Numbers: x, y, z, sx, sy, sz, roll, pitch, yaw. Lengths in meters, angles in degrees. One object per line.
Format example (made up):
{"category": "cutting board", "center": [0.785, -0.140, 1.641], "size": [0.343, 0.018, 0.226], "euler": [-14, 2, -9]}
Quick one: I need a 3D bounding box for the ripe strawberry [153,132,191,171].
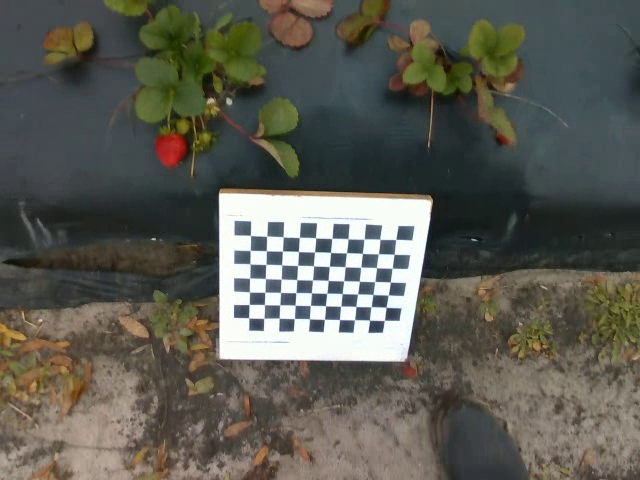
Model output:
{"category": "ripe strawberry", "center": [-0.060, -0.036, 0.216], "size": [0.018, 0.017, 0.014], "euler": [2, -16, -13]}
